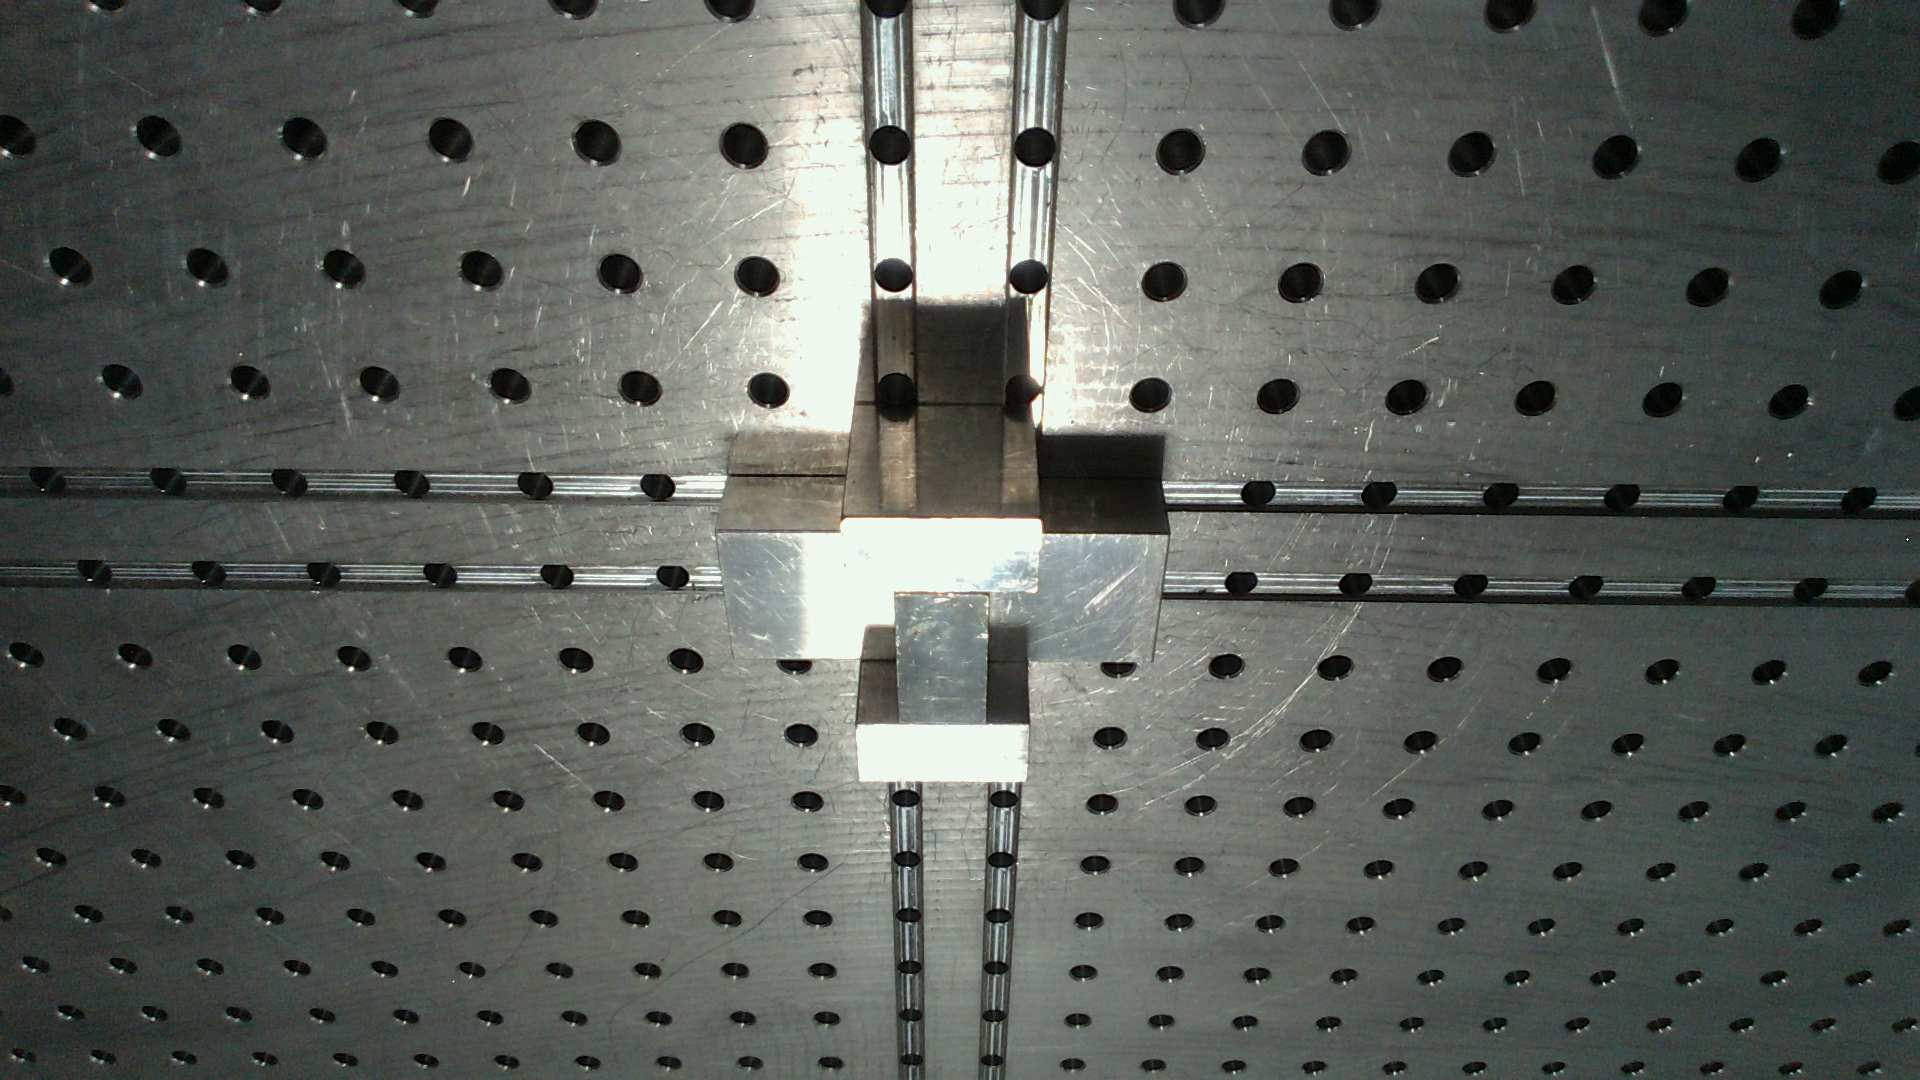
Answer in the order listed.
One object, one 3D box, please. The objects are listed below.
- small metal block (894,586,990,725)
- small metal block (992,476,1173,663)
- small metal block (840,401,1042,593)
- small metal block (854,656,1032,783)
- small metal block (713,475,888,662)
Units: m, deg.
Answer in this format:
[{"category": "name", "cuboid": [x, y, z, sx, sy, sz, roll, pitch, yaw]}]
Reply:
[{"category": "small metal block", "cuboid": [-0.005, 0.017, 0.391, 0.025, 0.050, 0.050, 0, 130, 0]}, {"category": "small metal block", "cuboid": [0.033, 0.009, 0.401, 0.050, 0.025, 0.050, 1, 130, -1]}, {"category": "small metal block", "cuboid": [-0.005, -0.012, 0.366, 0.050, 0.050, 0.025, 1, 130, -1]}, {"category": "small metal block", "cuboid": [-0.005, 0.046, 0.415, 0.050, 0.050, 0.025, 1, 130, -1]}, {"category": "small metal block", "cuboid": [-0.042, 0.009, 0.400, 0.050, 0.025, 0.050, 0, 130, 0]}]
